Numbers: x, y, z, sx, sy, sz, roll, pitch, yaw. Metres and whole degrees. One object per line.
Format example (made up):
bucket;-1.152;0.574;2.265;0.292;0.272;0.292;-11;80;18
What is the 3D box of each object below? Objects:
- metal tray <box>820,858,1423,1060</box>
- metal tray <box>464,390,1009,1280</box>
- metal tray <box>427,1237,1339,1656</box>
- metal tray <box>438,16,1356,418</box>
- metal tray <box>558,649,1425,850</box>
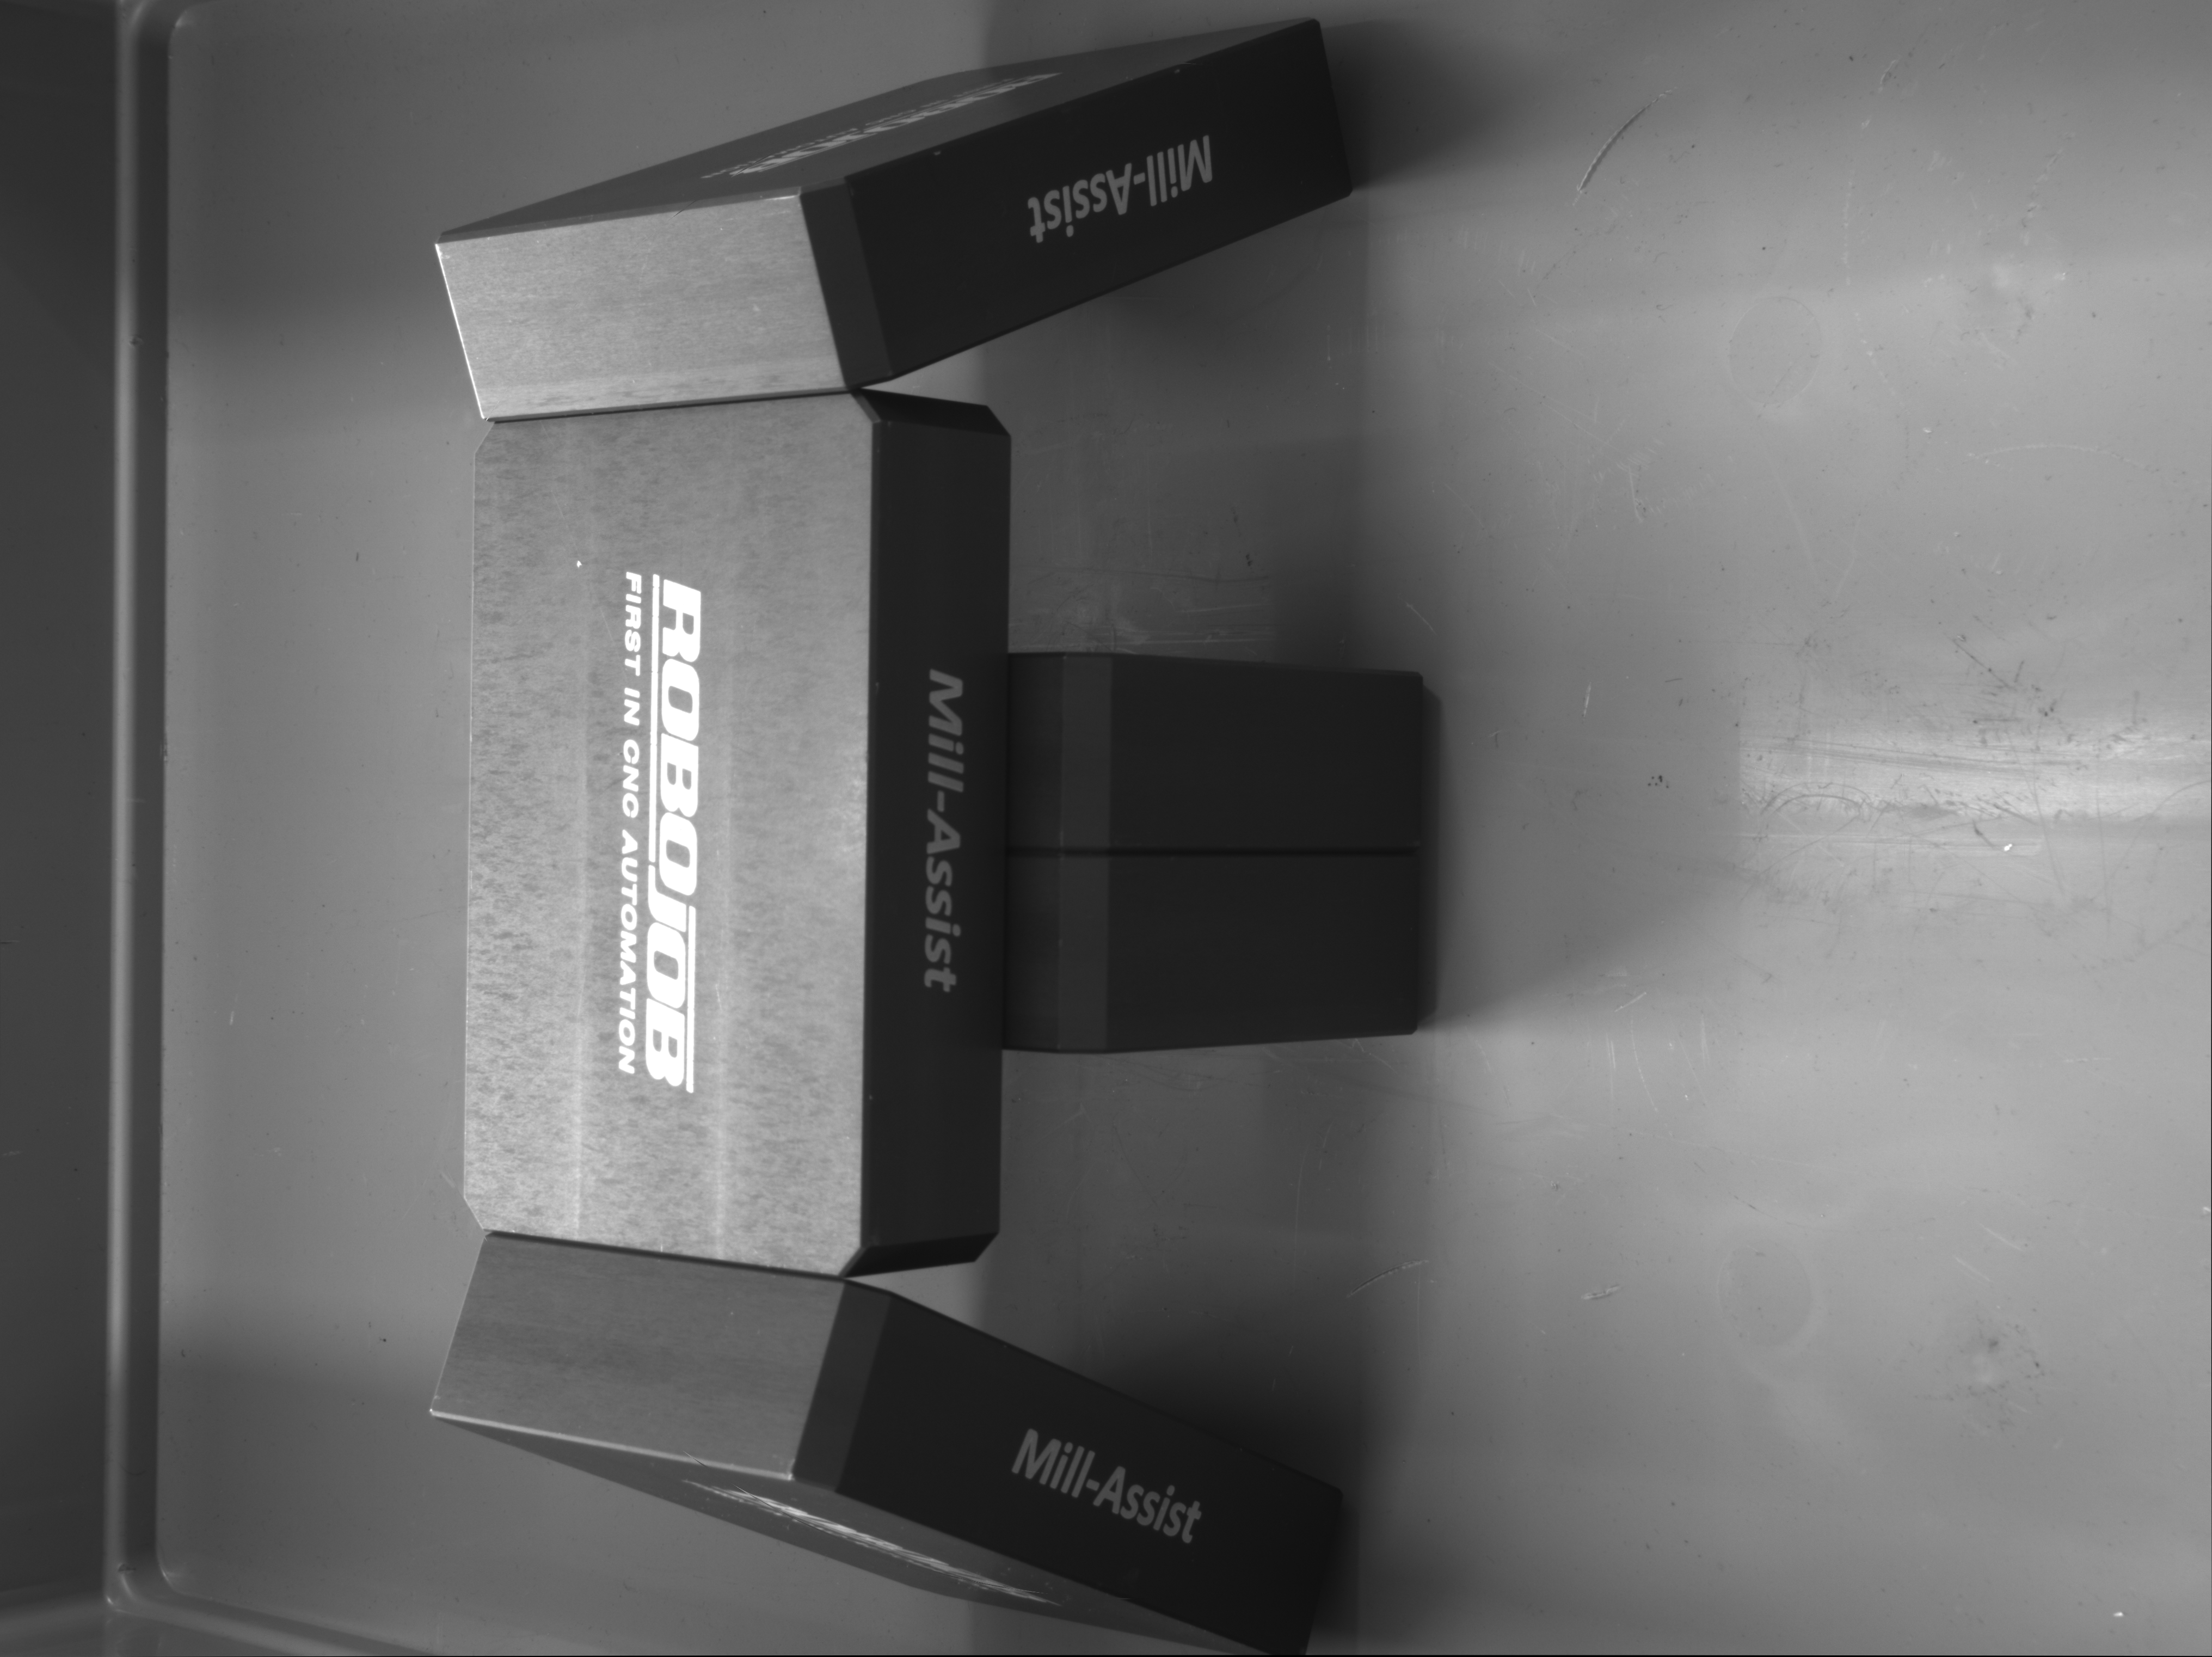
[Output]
metal tray;-0.023;0.019;0.621;0.129;0.090;0.030;1;90;40
metal tray;-0.059;0.000;0.571;0.090;0.030;0.130;1;91;39
metal tray;-0.034;0.103;0.601;0.090;0.130;0.030;1;69;40
metal tray;-0.032;-0.101;0.601;0.090;0.130;0.030;1;111;40
metal tray;-0.023;-0.012;0.621;0.129;0.090;0.030;1;90;40
